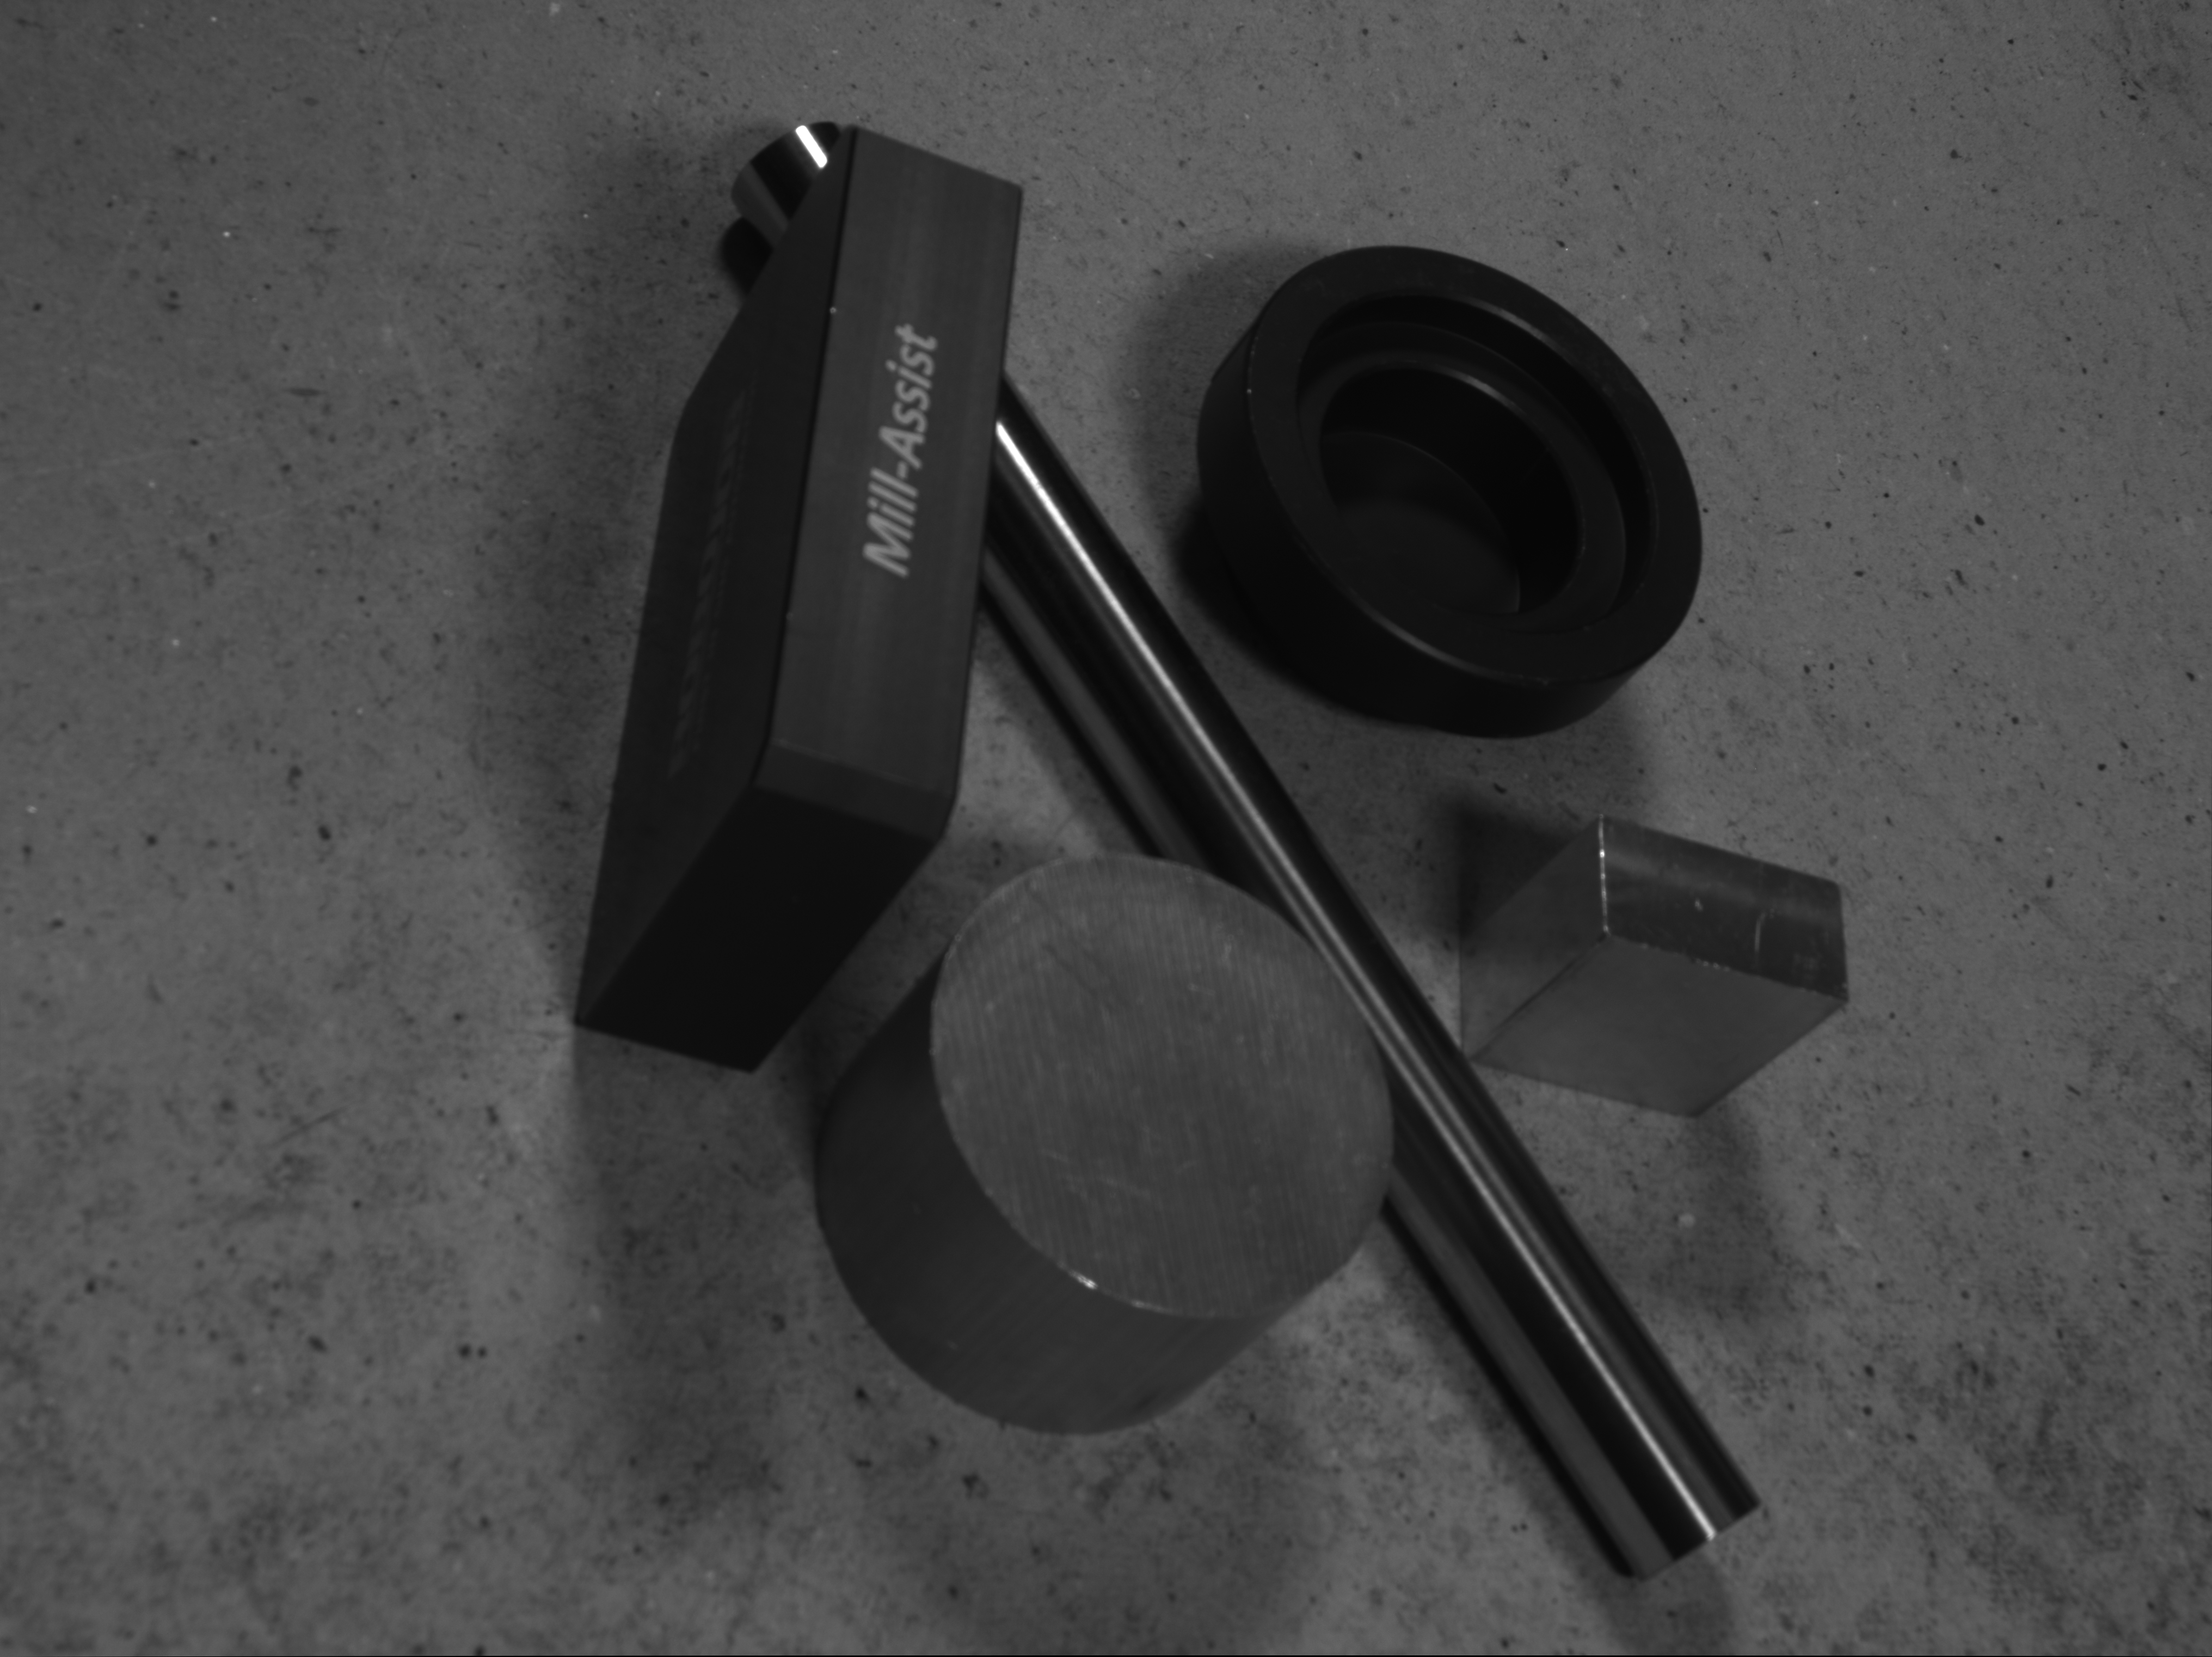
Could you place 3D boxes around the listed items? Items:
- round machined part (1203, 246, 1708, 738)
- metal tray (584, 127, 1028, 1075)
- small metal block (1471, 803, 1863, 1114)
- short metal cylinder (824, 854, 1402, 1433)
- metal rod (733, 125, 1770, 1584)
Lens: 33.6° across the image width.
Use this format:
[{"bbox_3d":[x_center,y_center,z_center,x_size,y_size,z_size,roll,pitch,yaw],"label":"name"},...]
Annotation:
[{"bbox_3d":[0.062,-0.059,0.699,0.098,0.042,0.098,14,56,-21],"label":"round machined part"},{"bbox_3d":[-0.049,-0.037,0.595,0.030,0.090,0.130,17,55,-18],"label":"metal tray"},{"bbox_3d":[0.100,0.024,0.659,0.050,0.050,0.025,16,55,-19],"label":"small metal block"},{"bbox_3d":[0.001,0.051,0.593,0.080,0.050,0.080,14,56,-21],"label":"short metal cylinder"},{"bbox_3d":[0.022,-0.001,0.653,0.025,0.025,0.300,-24,75,-36],"label":"metal rod"}]
